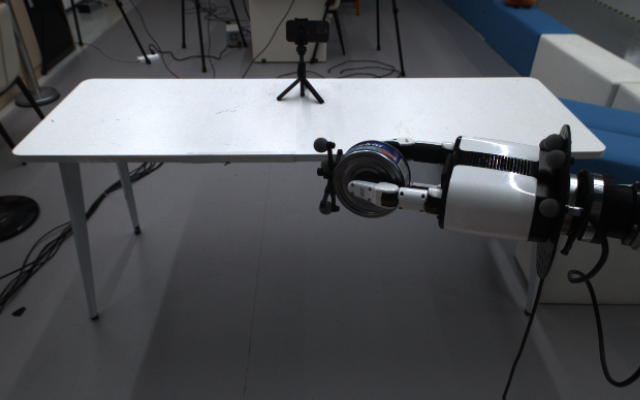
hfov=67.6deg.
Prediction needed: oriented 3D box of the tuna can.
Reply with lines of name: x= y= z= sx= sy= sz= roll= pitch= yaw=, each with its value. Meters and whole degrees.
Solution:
tuna can: x=0.063 y=-0.021 z=0.555 sx=0.085 sy=0.085 sz=0.034 roll=12 pitch=28 yaw=14
